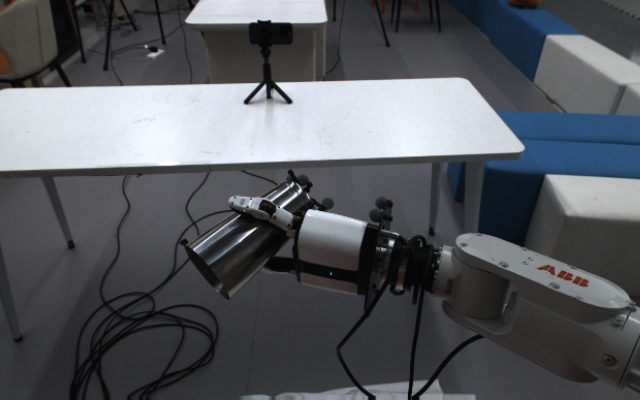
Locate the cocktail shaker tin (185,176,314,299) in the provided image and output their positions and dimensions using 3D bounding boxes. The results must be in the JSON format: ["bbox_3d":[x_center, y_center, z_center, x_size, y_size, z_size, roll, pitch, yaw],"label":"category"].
[{"bbox_3d":[-0.089,0.043,0.669,0.170,0.093,0.093,-38,49,-24],"label":"cocktail shaker tin"}]
